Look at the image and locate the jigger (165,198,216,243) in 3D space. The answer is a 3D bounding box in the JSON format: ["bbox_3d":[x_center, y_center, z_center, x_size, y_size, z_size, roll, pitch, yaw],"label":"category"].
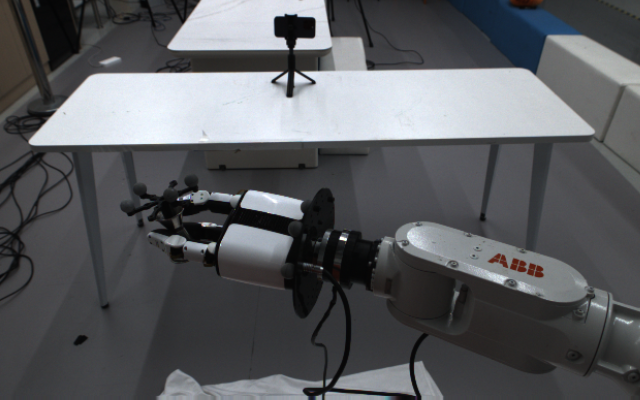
[{"bbox_3d":[-0.183,0.043,0.629,0.043,0.071,0.043,-10,32,6],"label":"jigger"}]
